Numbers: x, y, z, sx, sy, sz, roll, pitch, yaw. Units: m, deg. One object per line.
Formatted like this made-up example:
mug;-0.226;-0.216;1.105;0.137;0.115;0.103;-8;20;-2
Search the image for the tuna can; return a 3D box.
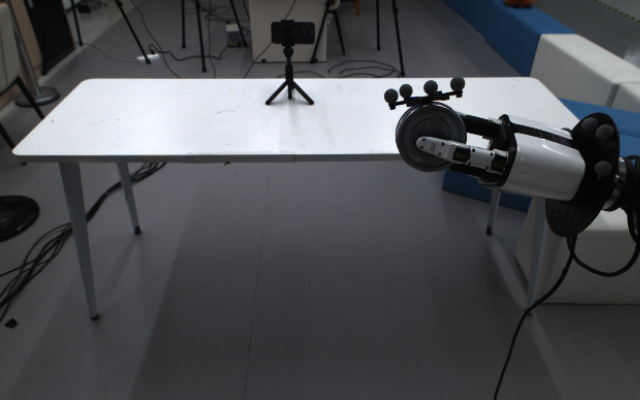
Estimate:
tuna can;0.139;-0.081;0.605;0.085;0.085;0.034;6;18;5
